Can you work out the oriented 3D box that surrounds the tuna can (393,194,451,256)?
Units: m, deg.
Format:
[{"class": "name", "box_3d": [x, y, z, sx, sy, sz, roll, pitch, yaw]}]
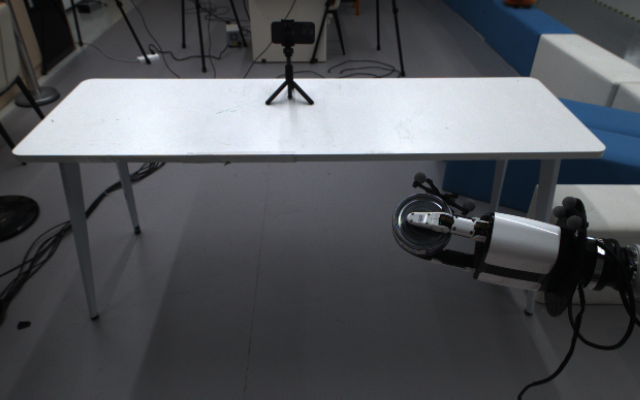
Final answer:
[{"class": "tuna can", "box_3d": [0.147, 0.031, 0.684, 0.085, 0.034, 0.085, -4, 69, 10]}]
